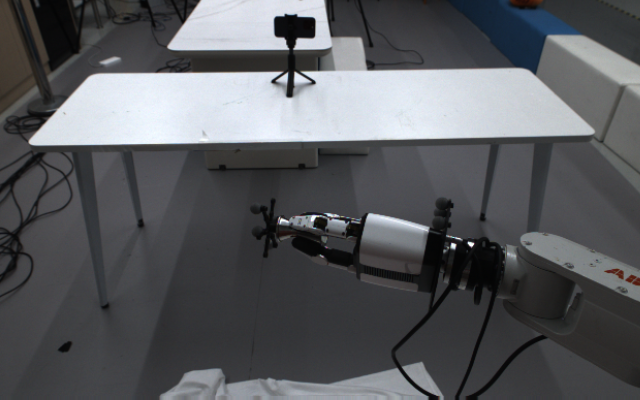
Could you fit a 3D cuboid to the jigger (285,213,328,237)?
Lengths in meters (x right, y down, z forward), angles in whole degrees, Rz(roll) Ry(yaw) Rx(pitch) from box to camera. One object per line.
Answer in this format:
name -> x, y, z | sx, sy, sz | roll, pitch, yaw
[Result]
jigger -> -0.018, 0.040, 0.701 | 0.071, 0.043, 0.043 | 3, 34, 14
